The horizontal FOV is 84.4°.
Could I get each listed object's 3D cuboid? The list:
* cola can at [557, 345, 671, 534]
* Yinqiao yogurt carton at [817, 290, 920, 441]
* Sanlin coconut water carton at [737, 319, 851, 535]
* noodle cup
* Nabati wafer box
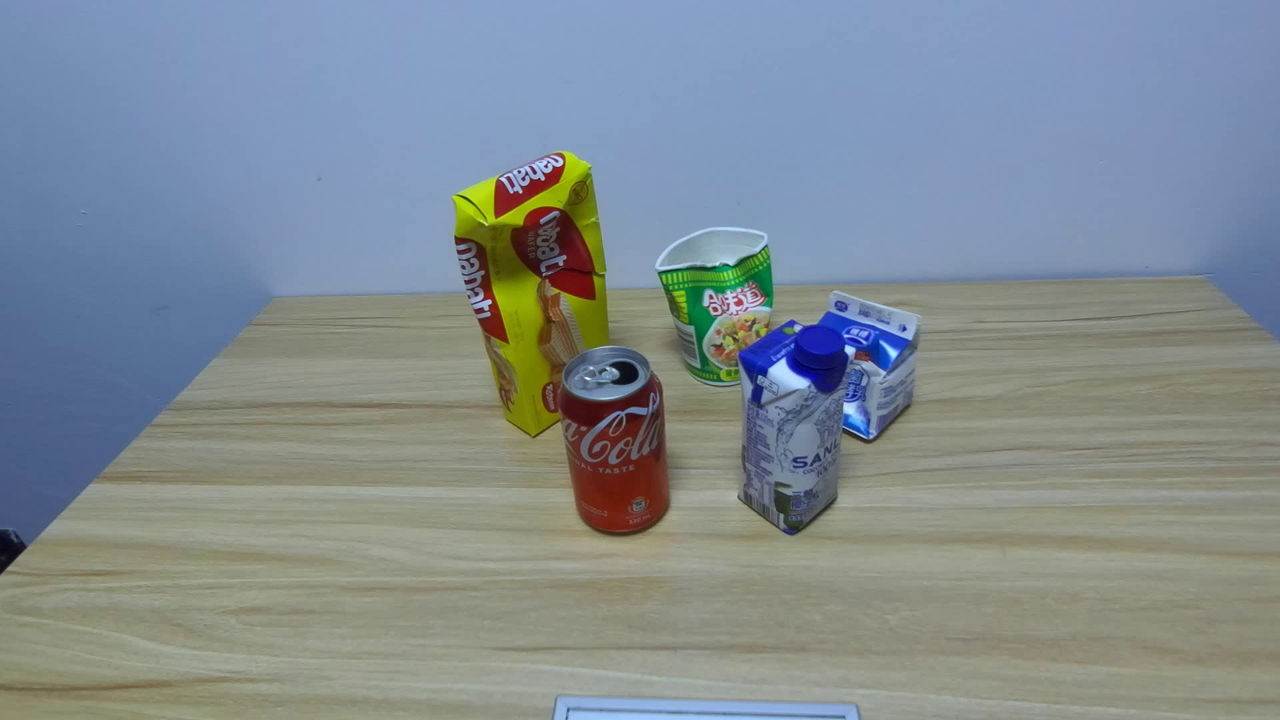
[{"bbox_3d":[-0.015,0.053,0.464,0.068,0.120,0.067,-3,35,3],"label":"cola can"},{"bbox_3d":[0.168,-0.002,0.540,0.077,0.094,0.071,26,40,34],"label":"Yinqiao yogurt carton"},{"bbox_3d":[0.097,0.039,0.447,0.061,0.144,0.060,-31,42,-30],"label":"Sanlin coconut water carton"},{"bbox_3d":[0.071,-0.044,0.594,0.082,0.122,0.075,-4,28,17],"label":"noodle cup"},{"bbox_3d":[-0.076,-0.044,0.534,0.107,0.205,0.042,-32,44,-33],"label":"Nabati wafer box"}]
